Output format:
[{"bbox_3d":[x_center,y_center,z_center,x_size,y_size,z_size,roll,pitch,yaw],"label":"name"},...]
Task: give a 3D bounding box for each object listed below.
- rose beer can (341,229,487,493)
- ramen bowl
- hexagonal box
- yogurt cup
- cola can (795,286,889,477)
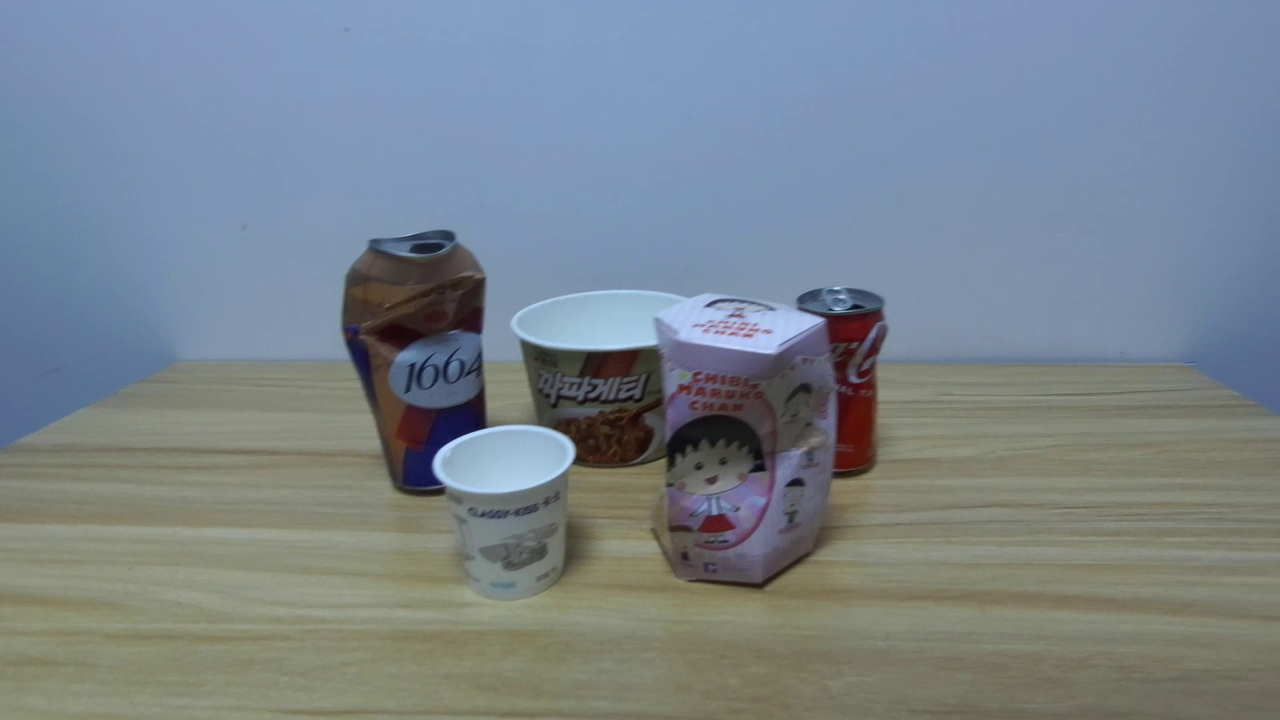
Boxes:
[{"bbox_3d":[-0.138,0.001,0.457,0.068,0.162,0.074,5,24,13],"label":"rose beer can"},{"bbox_3d":[-0.020,0.012,0.513,0.140,0.095,0.140,0,19,0],"label":"ramen bowl"},{"bbox_3d":[0.045,0.040,0.373,0.089,0.134,0.093,-9,22,-20],"label":"hexagonal box"},{"bbox_3d":[-0.067,0.080,0.368,0.072,0.068,0.072,-1,21,1],"label":"yogurt cup"},{"bbox_3d":[0.128,0.012,0.469,0.066,0.117,0.066,11,24,29],"label":"cola can"}]
